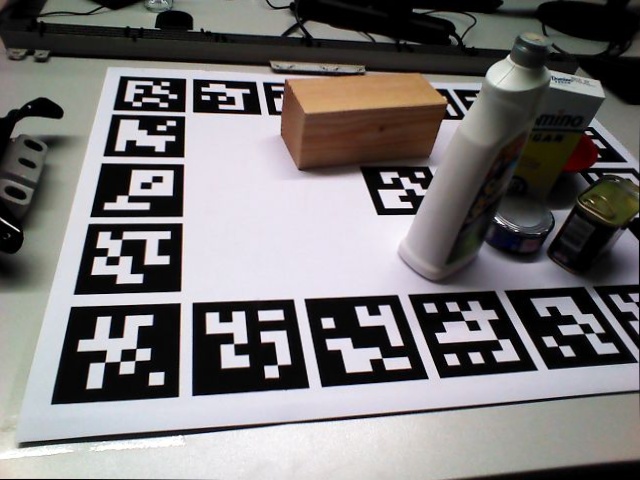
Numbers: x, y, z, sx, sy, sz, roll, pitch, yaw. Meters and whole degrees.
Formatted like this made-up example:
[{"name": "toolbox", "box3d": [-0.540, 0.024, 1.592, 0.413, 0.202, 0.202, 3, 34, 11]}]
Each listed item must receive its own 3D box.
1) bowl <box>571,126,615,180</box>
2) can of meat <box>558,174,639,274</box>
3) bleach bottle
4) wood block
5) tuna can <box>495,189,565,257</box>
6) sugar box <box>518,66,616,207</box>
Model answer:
[{"name": "bowl", "box3d": [0.322, -0.129, 0.735, 0.162, 0.055, 0.160, 2, 44, -2]}, {"name": "can of meat", "box3d": [0.334, -0.018, 0.606, 0.101, 0.084, 0.058, -25, 50, -33]}, {"name": "bleach bottle", "box3d": [0.163, -0.077, 0.512, 0.102, 0.252, 0.068, -22, 51, -28]}, {"name": "wood block", "box3d": [0.063, -0.165, 0.707, 0.206, 0.090, 0.090, -8, 51, -18]}, {"name": "tuna can", "box3d": [0.244, -0.021, 0.621, 0.086, 0.034, 0.085, 4, 47, -5]}, {"name": "sugar box", "box3d": [0.265, -0.115, 0.618, 0.093, 0.177, 0.045, 11, 46, 7]}]
